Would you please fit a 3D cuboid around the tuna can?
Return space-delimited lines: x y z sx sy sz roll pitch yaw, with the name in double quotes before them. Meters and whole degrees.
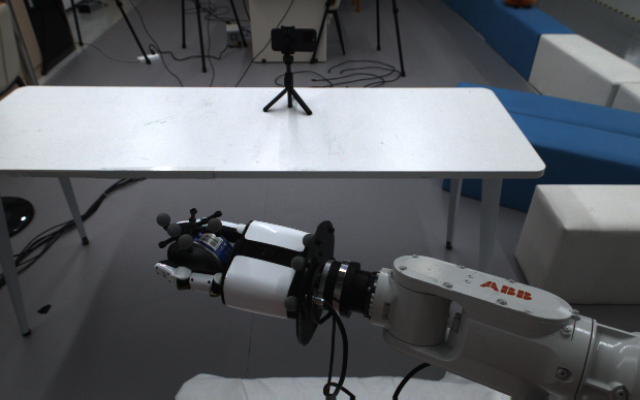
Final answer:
"tuna can" -0.153 0.076 0.638 0.085 0.085 0.034 14 40 16
